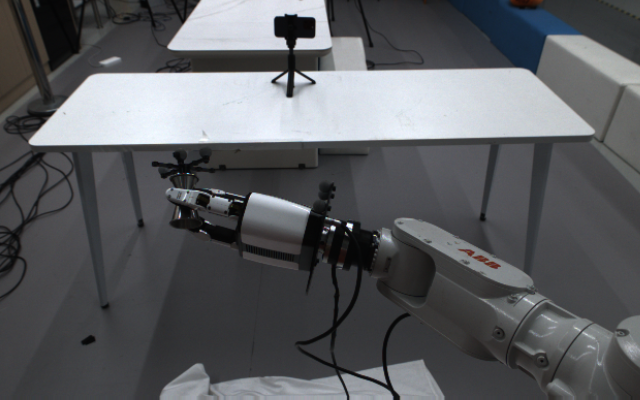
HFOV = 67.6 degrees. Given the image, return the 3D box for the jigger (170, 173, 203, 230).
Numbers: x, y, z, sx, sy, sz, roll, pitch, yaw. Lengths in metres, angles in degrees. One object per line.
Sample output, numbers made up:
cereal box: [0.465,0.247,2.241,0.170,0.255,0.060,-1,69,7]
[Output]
jigger: [-0.186,0.002,0.669,0.043,0.043,0.071,-4,70,-9]
